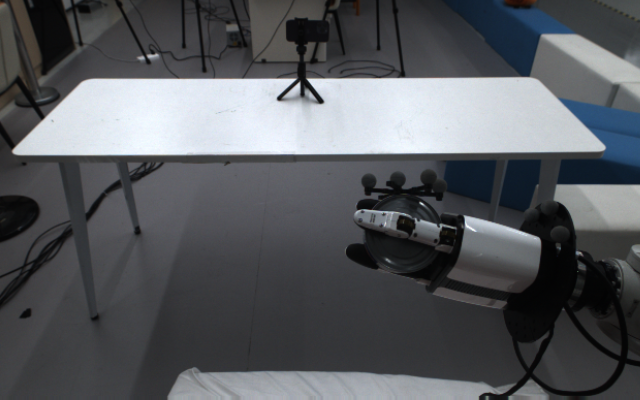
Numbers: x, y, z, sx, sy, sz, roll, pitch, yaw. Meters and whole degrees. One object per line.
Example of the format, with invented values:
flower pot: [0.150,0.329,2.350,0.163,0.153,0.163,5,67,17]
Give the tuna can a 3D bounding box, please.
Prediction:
tuna can: [0.093,0.035,0.538,0.085,0.034,0.085,0,77,0]
